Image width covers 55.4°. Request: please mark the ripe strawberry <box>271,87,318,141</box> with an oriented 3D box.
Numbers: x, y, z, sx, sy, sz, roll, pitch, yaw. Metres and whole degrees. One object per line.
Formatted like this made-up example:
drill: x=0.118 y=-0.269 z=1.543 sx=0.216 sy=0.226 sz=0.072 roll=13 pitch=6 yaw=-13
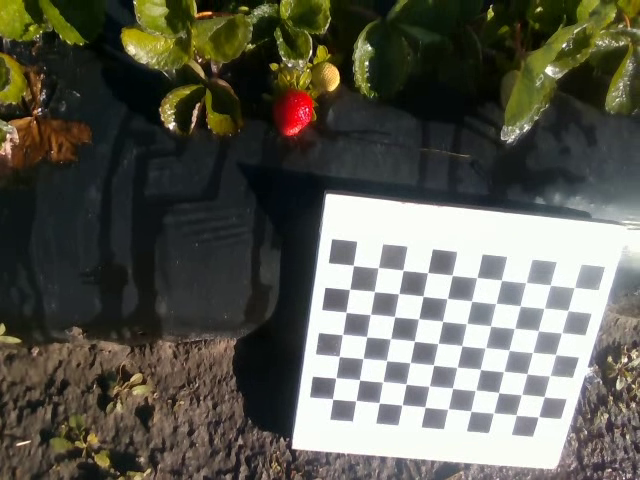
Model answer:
ripe strawberry: x=-0.019 y=-0.084 z=0.418 sx=0.039 sy=0.040 sz=0.039 roll=0 pitch=43 yaw=8
